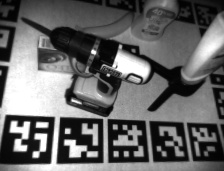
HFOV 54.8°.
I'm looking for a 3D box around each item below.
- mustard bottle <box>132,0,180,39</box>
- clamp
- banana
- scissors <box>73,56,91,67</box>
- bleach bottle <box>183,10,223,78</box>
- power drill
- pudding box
[{"bbox_3d":[0.131,-0.207,0.594,0.097,0.191,0.058,18,64,-10],"label":"mustard bottle"},{"bbox_3d":[0.188,-0.035,0.608,0.204,0.036,0.165,-1,71,-19],"label":"clamp"},{"bbox_3d":[0.010,-0.205,0.628,0.199,0.039,0.073,-35,65,-26],"label":"banana"},{"bbox_3d":[-0.106,-0.115,0.462,0.204,0.016,0.088,30,67,-9],"label":"scissors"},{"bbox_3d":[0.249,-0.085,0.530,0.103,0.251,0.067,-16,69,-14],"label":"bleach bottle"},{"bbox_3d":[-0.037,-0.030,0.435,0.185,0.187,0.057,16,58,-7],"label":"power drill"},{"bbox_3d":[-0.114,-0.084,0.519,0.114,0.090,0.038,9,60,-14],"label":"pudding box"}]
